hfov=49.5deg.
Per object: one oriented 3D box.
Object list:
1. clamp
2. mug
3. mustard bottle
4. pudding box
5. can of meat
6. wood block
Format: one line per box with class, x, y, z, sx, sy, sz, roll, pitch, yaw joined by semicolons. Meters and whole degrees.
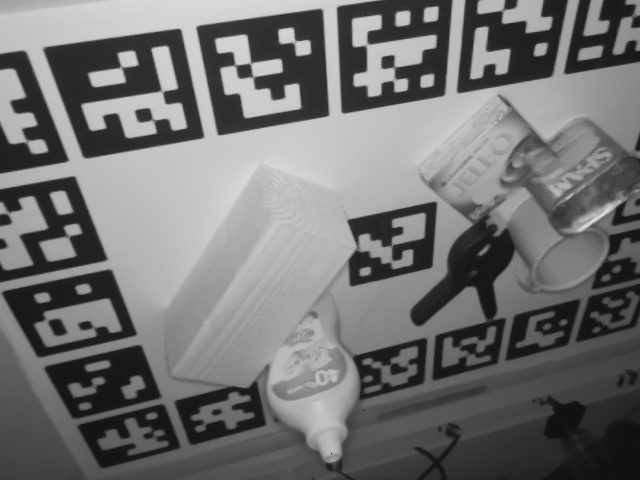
clamp;0.196;0.050;0.799;0.123;0.036;0.163;4;122;-18
mug;0.273;0.005;0.783;0.094;0.081;0.116;7;122;-21
mustard bottle;0.006;0.145;0.703;0.096;0.192;0.058;-16;129;-5
pudding box;0.178;-0.077;0.690;0.113;0.039;0.091;-43;126;18
can of meat;0.281;-0.064;0.697;0.101;0.084;0.058;-36;127;11
wood block;-0.056;0.040;0.676;0.091;0.091;0.203;20;120;-31
